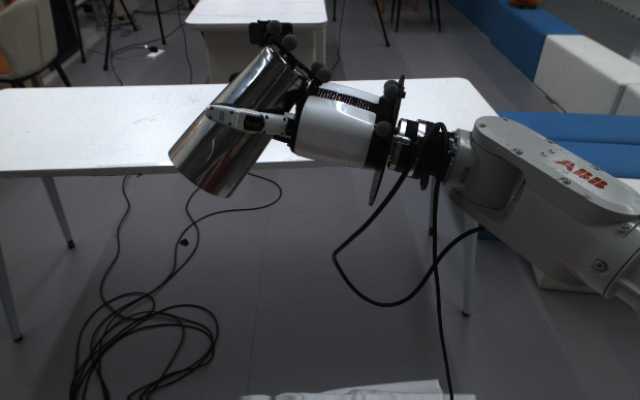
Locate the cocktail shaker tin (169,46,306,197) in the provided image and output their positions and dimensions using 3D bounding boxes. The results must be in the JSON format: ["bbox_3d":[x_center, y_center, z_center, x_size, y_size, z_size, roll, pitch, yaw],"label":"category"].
[{"bbox_3d":[-0.091,-0.099,0.578,0.093,0.170,0.093,41,12,-11],"label":"cocktail shaker tin"}]
